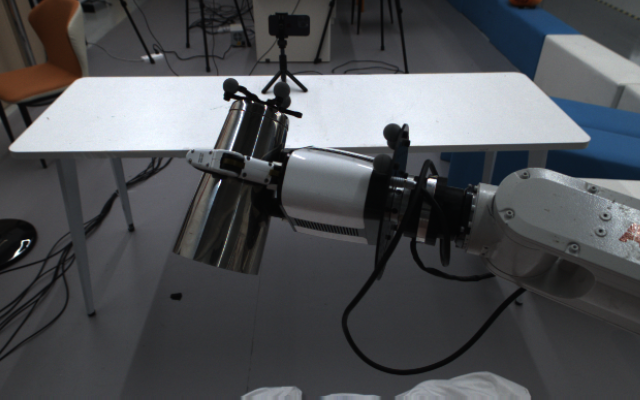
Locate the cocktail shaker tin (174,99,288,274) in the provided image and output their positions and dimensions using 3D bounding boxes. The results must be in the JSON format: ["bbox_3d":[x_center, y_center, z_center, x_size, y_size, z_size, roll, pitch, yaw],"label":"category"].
[{"bbox_3d":[-0.087,-0.014,0.519,0.093,0.170,0.093,15,-6,2],"label":"cocktail shaker tin"}]
